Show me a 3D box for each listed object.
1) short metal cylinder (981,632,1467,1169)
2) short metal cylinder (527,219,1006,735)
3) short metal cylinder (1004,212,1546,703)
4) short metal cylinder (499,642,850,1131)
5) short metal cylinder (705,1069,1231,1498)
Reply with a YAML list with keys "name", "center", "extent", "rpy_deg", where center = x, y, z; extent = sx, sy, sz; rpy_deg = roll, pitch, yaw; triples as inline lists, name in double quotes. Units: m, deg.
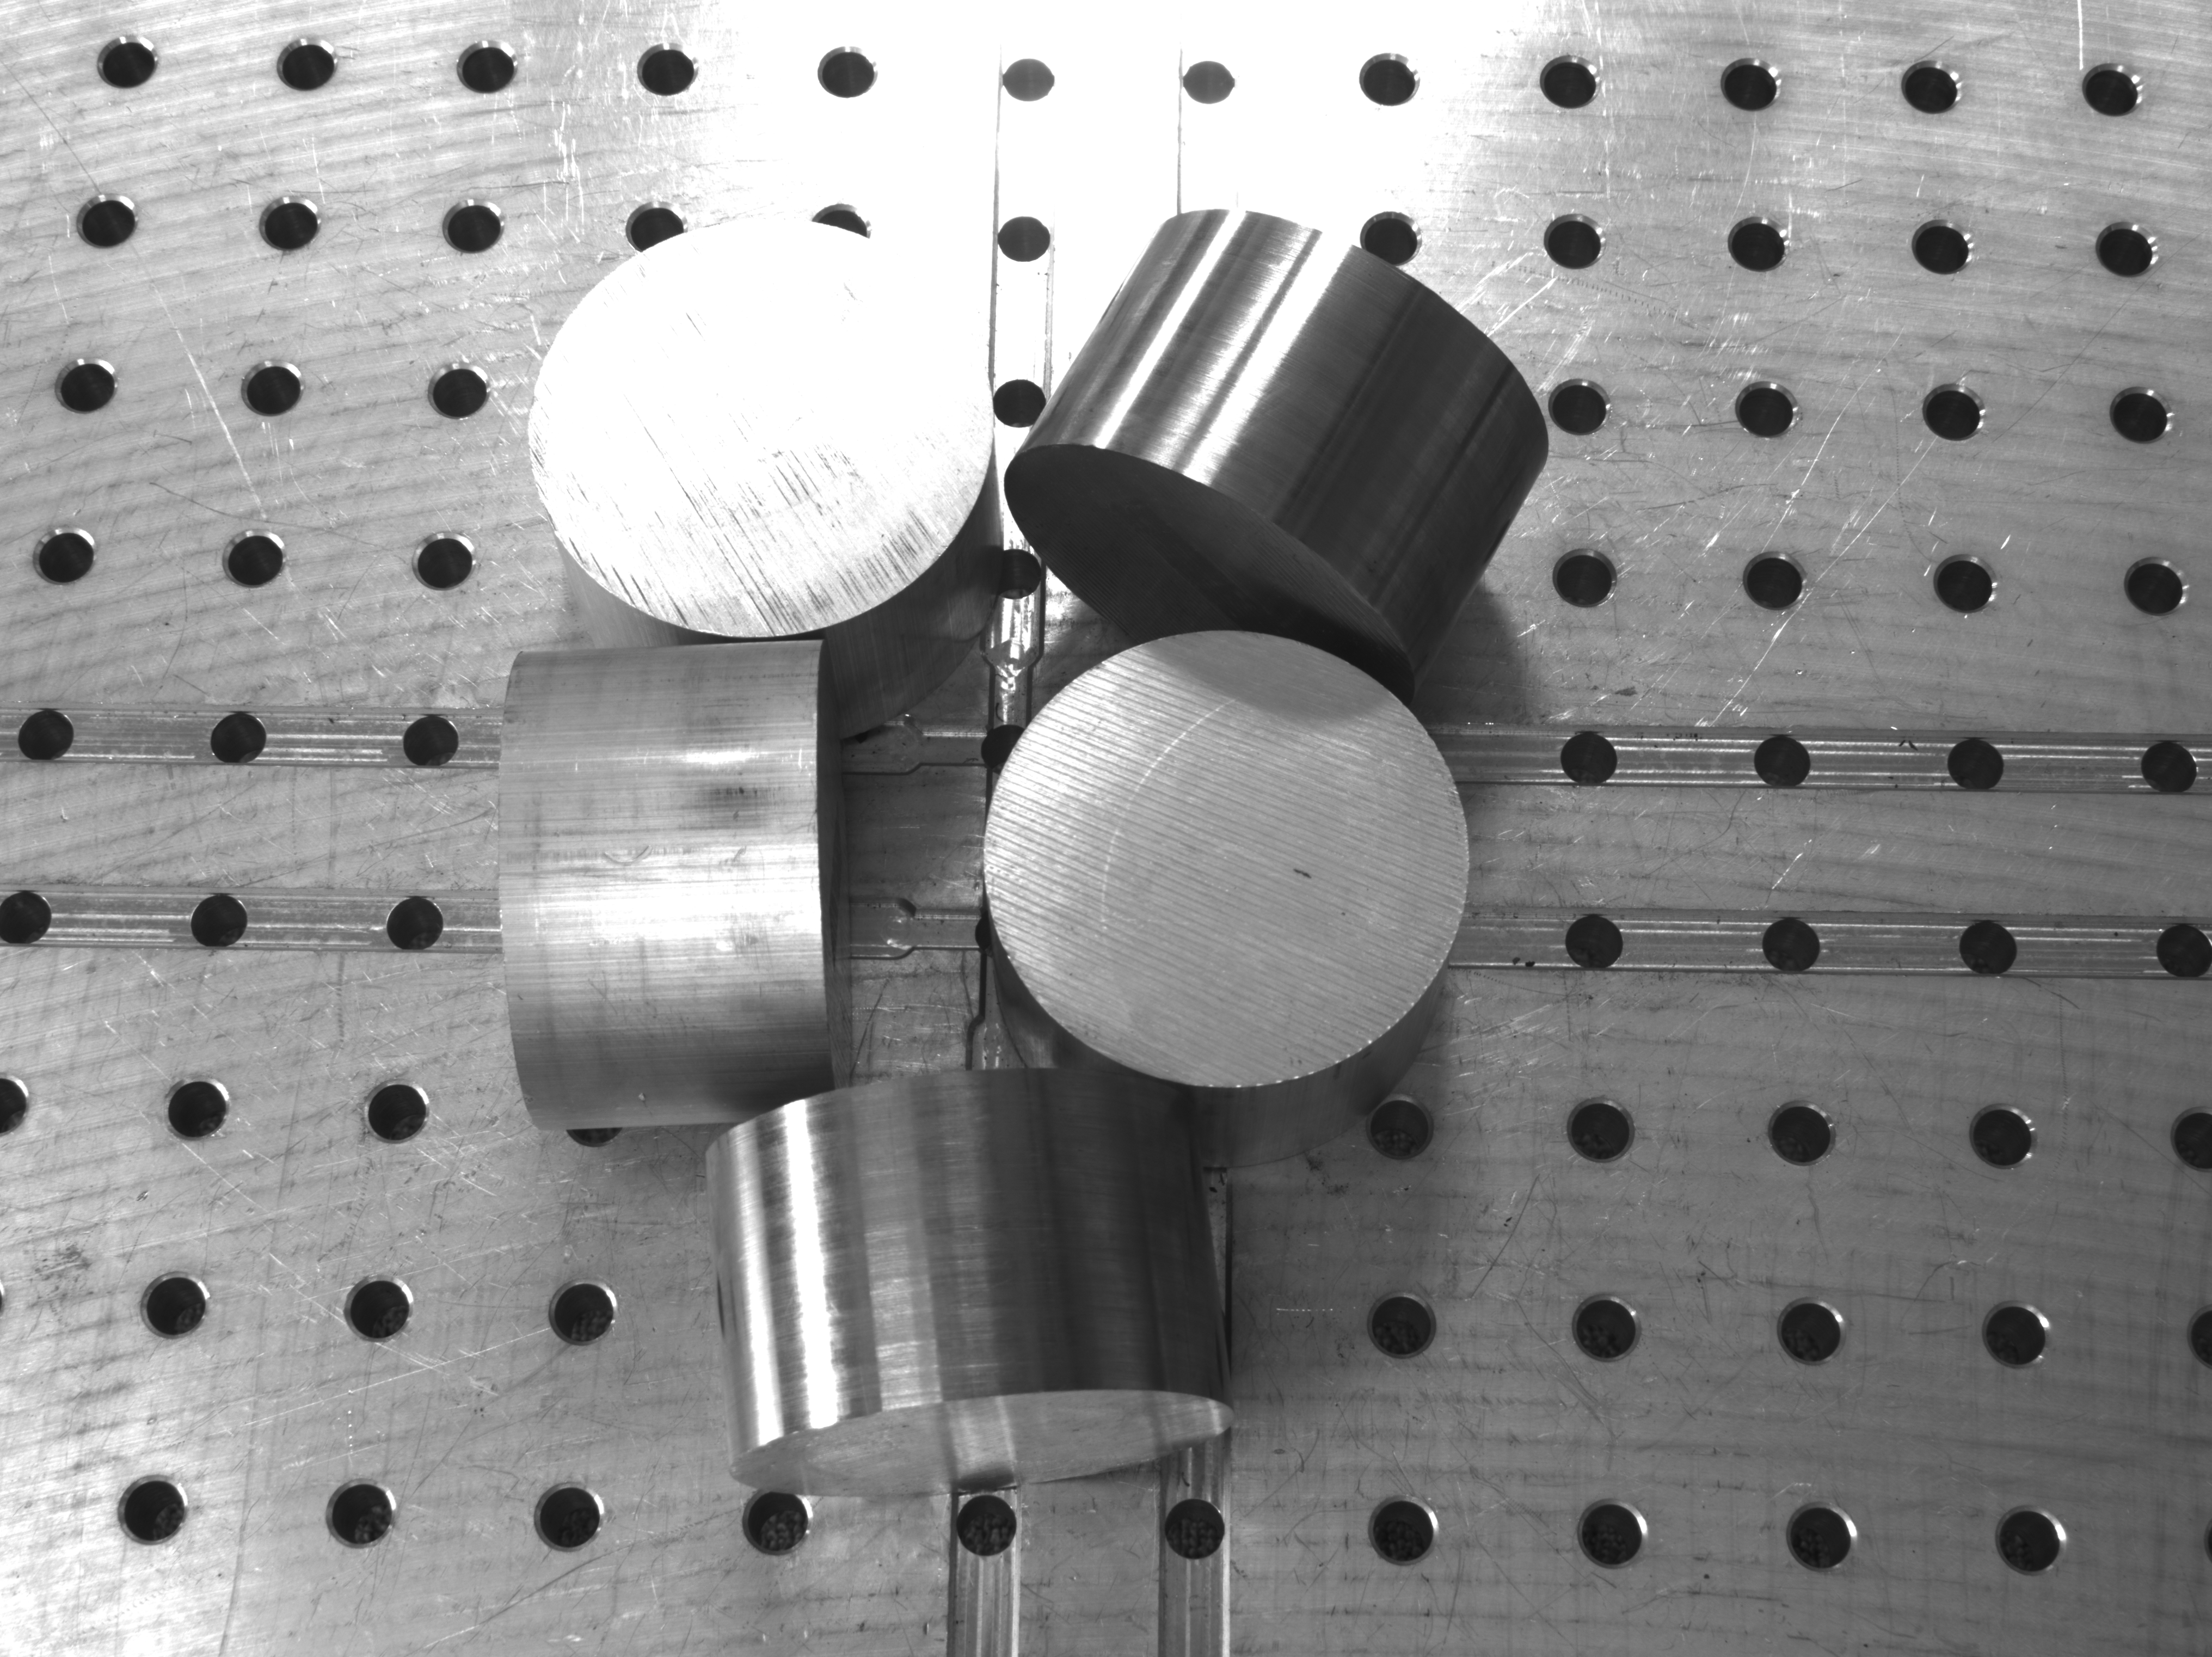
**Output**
- name: "short metal cylinder"
  center: [0.019, 0.013, 0.630]
  extent: [0.080, 0.050, 0.080]
  rpy_deg: [0, 70, 0]
- name: "short metal cylinder"
  center: [-0.059, -0.061, 0.657]
  extent: [0.080, 0.050, 0.080]
  rpy_deg: [0, 70, 1]
- name: "short metal cylinder"
  center: [0.029, -0.062, 0.641]
  extent: [0.080, 0.080, 0.050]
  rpy_deg: [27, 71, 10]
- name: "short metal cylinder"
  center: [-0.070, 0.010, 0.616]
  extent: [0.050, 0.080, 0.080]
  rpy_deg: [-2, 70, -1]
- name: "short metal cylinder"
  center: [-0.023, 0.074, 0.591]
  extent: [0.080, 0.080, 0.050]
  rpy_deg: [-6, 70, -2]
